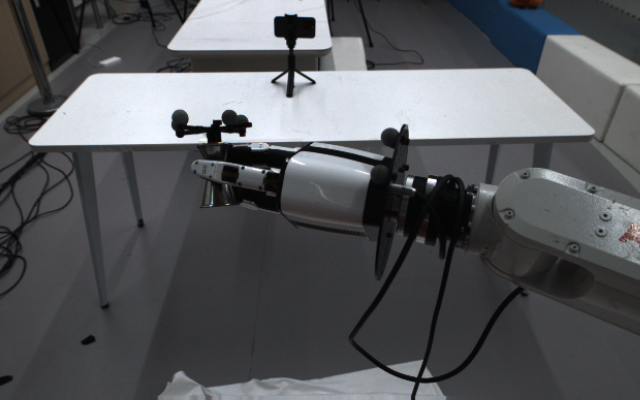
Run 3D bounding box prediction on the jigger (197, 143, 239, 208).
[{"bbox_3d":[-0.113,-0.026,0.532,0.043,0.071,0.043,-4,1,0],"label":"jigger"}]
